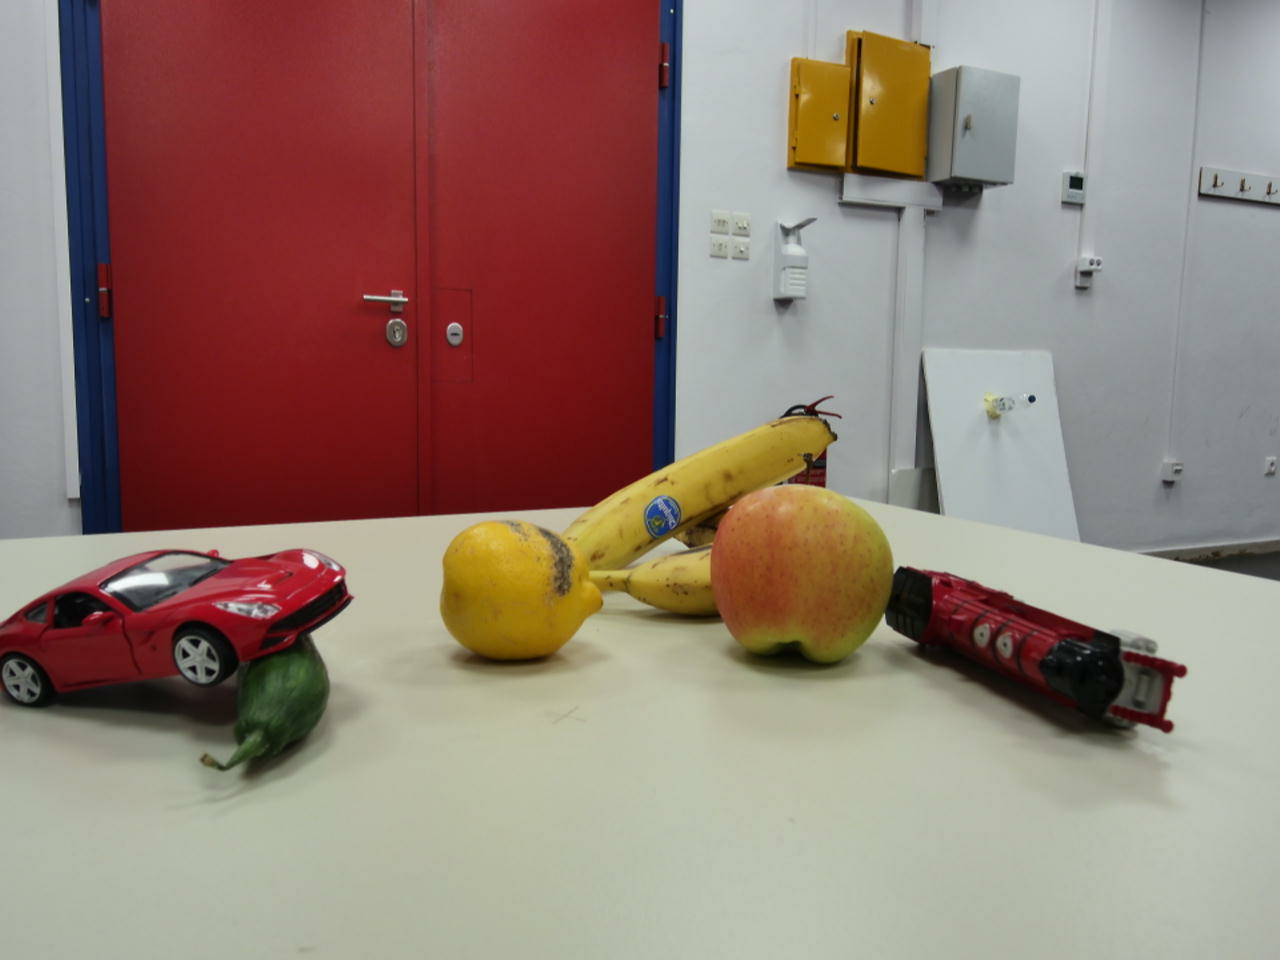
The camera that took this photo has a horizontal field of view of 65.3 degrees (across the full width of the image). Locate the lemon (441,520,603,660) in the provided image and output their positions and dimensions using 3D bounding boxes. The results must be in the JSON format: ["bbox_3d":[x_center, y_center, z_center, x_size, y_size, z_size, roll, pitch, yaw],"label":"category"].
[{"bbox_3d":[-0.052,0.045,0.408,0.061,0.056,0.058,-3,5,-34],"label":"lemon"}]
